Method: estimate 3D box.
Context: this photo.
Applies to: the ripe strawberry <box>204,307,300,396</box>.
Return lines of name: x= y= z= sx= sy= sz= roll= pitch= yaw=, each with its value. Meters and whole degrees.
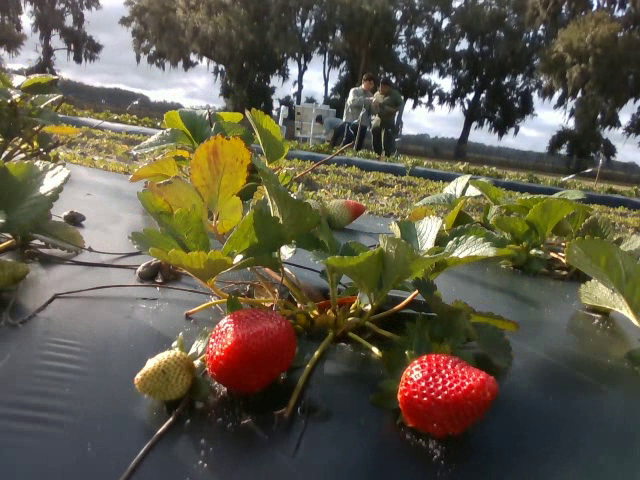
ripe strawberry: x=-0.024 y=0.032 z=0.198 sx=0.035 sy=0.041 sz=0.036 roll=-4 pitch=-12 yaw=7

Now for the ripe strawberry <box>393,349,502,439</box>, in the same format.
ripe strawberry: x=0.044 y=0.044 z=0.188 sx=0.033 sy=0.038 sz=0.039 roll=28 pitch=-20 yaw=1
